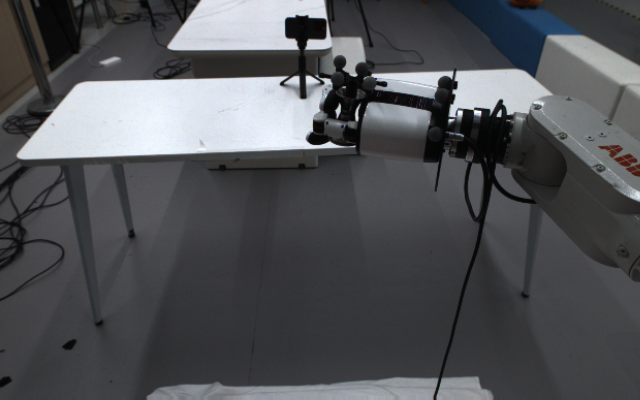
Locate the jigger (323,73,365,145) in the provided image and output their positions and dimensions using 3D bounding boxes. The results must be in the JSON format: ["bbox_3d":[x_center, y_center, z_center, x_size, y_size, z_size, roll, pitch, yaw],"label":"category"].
[{"bbox_3d":[0.034,-0.114,0.655,0.043,0.071,0.043,6,32,-4],"label":"jigger"}]
